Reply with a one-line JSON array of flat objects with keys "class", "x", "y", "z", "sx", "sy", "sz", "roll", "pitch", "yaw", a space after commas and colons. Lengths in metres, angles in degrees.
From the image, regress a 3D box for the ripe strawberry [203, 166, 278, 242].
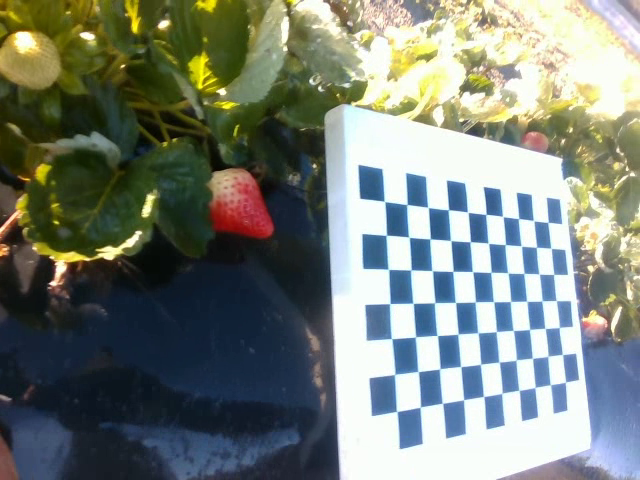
[{"class": "ripe strawberry", "x": -0.052, "y": -0.020, "z": 0.408, "sx": 0.040, "sy": 0.040, "sz": 0.065, "roll": -16, "pitch": -56, "yaw": 48}]
